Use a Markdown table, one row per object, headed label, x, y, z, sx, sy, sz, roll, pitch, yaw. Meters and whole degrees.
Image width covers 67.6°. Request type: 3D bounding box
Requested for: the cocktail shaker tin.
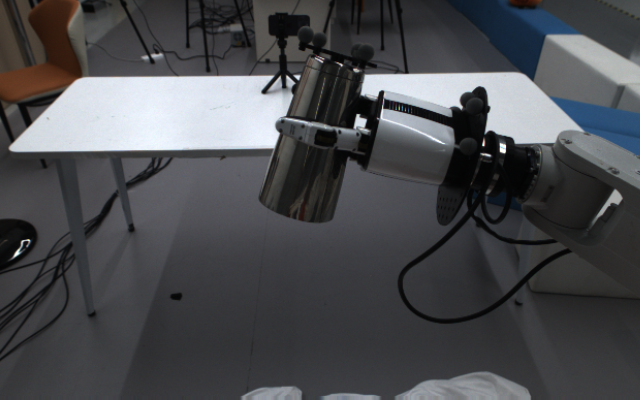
| label | x | y | z | sx | sy | sz | roll | pitch | yaw |
| --- | --- | --- | --- | --- | --- | --- | --- | --- | --- |
| cocktail shaker tin | -0.004 | -0.071 | 0.549 | 0.093 | 0.170 | 0.093 | 15 | 17 | -5 |
